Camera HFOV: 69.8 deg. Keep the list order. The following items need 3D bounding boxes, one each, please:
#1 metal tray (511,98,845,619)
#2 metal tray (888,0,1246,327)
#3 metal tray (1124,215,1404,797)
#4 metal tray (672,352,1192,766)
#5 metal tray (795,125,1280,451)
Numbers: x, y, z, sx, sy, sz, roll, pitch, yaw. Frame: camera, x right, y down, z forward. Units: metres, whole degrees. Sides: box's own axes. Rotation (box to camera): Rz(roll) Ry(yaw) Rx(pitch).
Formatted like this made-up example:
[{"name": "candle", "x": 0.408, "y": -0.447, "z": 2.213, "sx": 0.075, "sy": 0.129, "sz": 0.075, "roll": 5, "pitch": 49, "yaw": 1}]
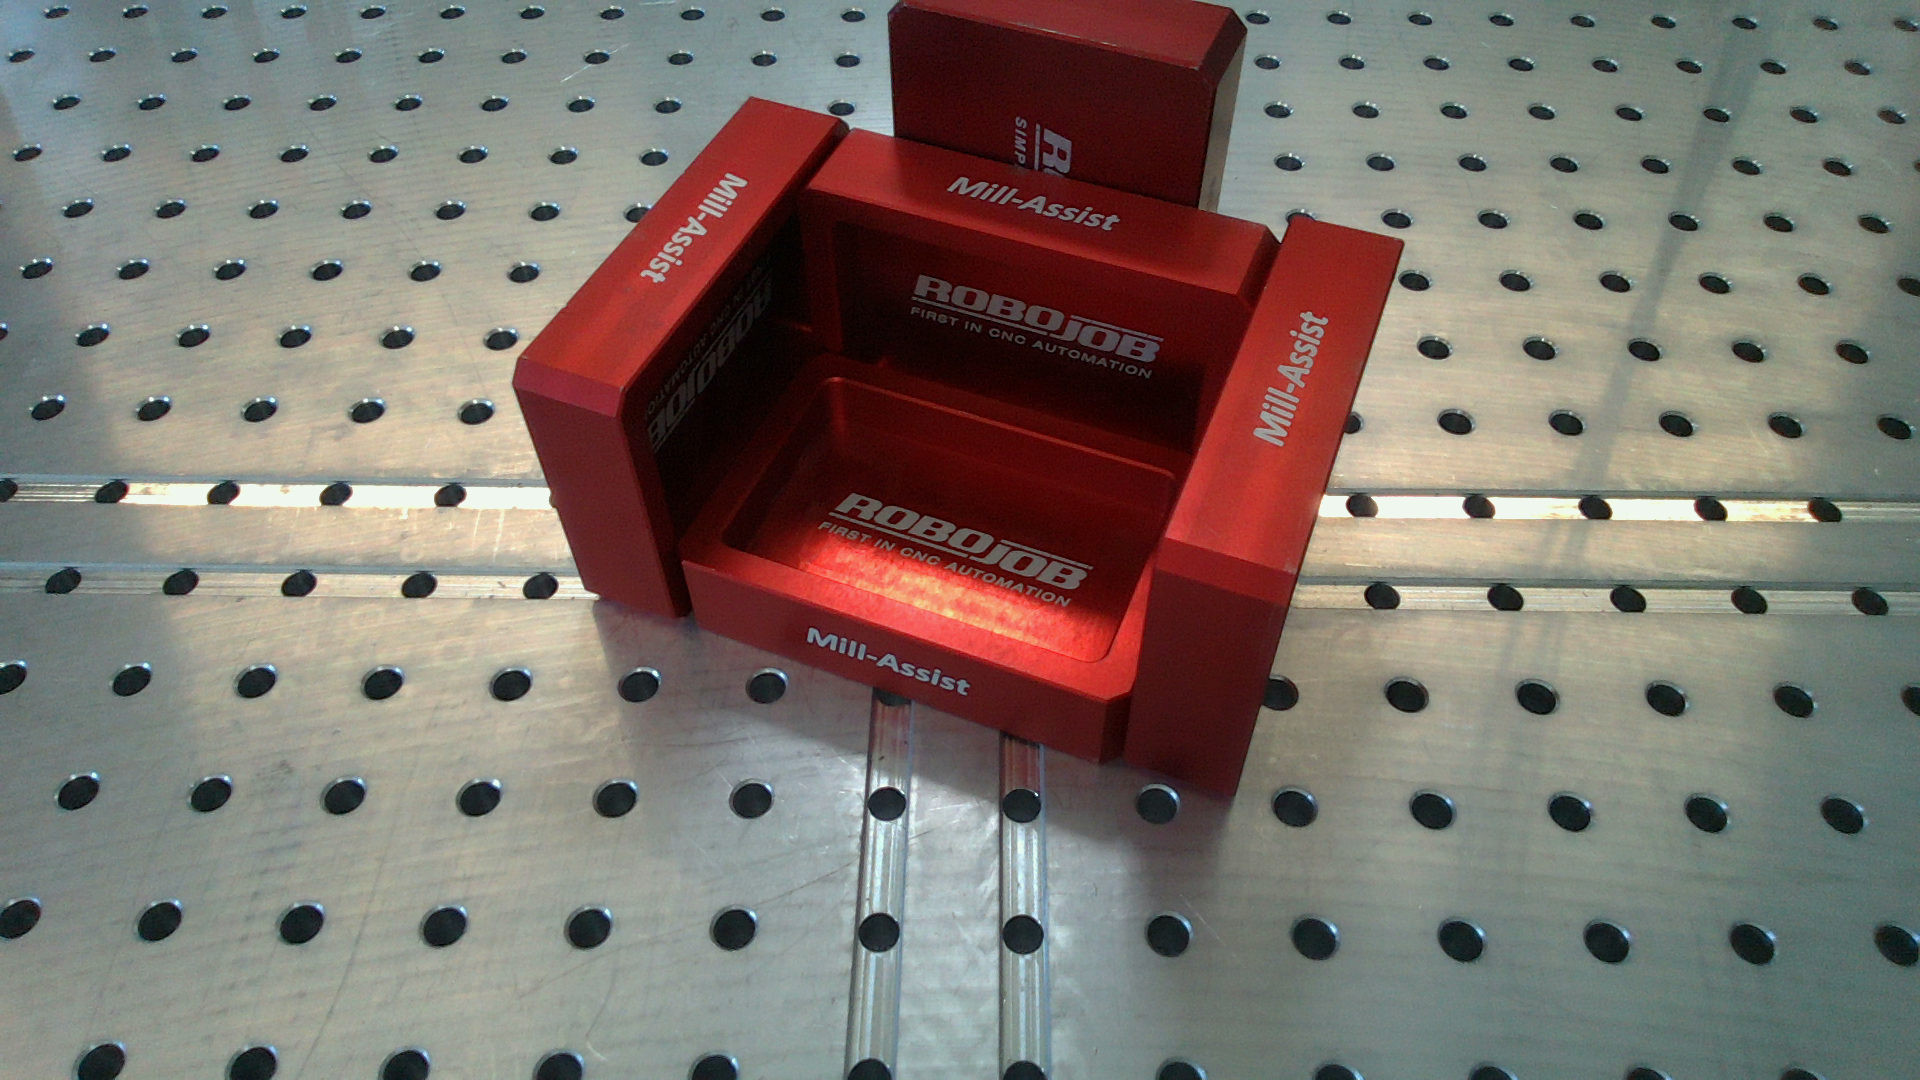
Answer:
[{"name": "metal tray", "x": -0.071, "y": -0.054, "z": 0.397, "sx": 0.030, "sy": 0.090, "sz": 0.130, "roll": 17, "pitch": 52, "yaw": 14}, {"name": "metal tray", "x": 0.028, "y": -0.098, "z": 0.407, "sx": 0.090, "sy": 0.130, "sz": 0.030, "roll": 18, "pitch": 53, "yaw": 14}, {"name": "metal tray", "x": 0.080, "y": -0.011, "z": 0.360, "sx": 0.030, "sy": 0.090, "sz": 0.130, "roll": 17, "pitch": 52, "yaw": 14}, {"name": "metal tray", "x": -0.002, "y": 0.001, "z": 0.390, "sx": 0.130, "sy": 0.030, "sz": 0.090, "roll": 17, "pitch": 52, "yaw": 14}, {"name": "metal tray", "x": 0.020, "y": -0.062, "z": 0.404, "sx": 0.130, "sy": 0.090, "sz": 0.030, "roll": 17, "pitch": 52, "yaw": 14}]
